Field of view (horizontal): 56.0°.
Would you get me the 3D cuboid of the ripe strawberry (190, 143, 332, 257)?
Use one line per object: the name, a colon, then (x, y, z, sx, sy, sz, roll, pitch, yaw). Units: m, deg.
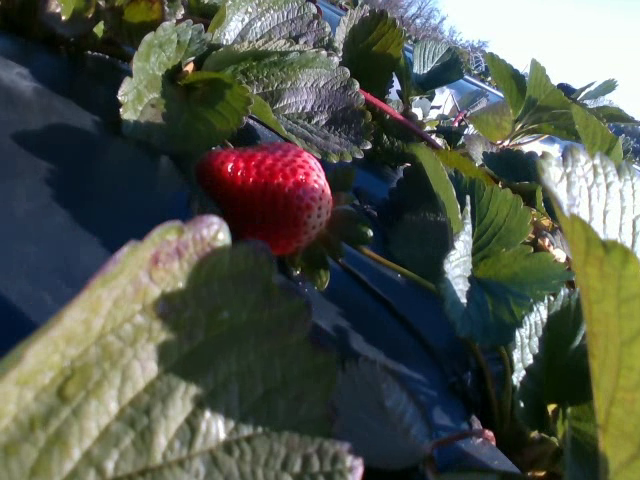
ripe strawberry: (-0.018, -0.013, 0.183, 0.044, 0.042, 0.055, -14, -27, 39)
